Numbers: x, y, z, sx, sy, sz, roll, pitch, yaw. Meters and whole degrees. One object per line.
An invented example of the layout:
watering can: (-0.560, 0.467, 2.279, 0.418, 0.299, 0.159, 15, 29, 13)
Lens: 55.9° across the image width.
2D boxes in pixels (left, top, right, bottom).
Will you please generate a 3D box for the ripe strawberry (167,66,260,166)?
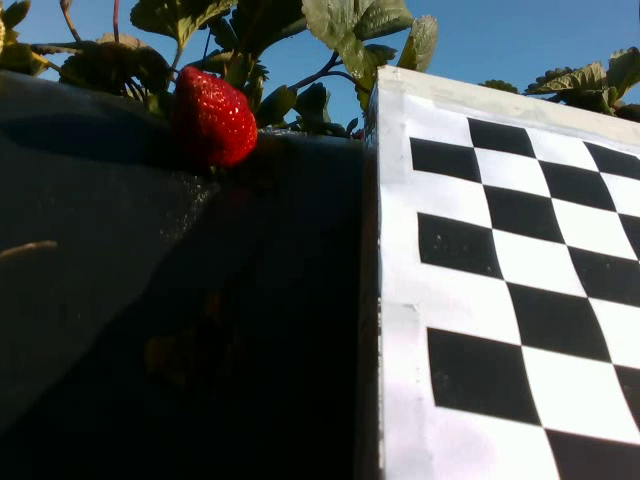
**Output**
ripe strawberry: (-0.015, -0.017, 0.081, 0.015, 0.015, 0.023, 17, -12, 2)
